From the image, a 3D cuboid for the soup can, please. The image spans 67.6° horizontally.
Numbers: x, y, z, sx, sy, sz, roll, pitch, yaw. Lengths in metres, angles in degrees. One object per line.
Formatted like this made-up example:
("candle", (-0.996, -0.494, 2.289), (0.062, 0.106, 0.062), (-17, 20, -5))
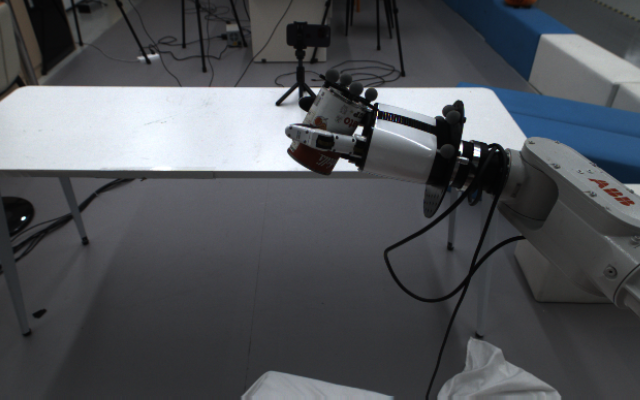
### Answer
("soup can", (0.010, -0.093, 0.638), (0.067, 0.101, 0.067), (27, 18, -10))
